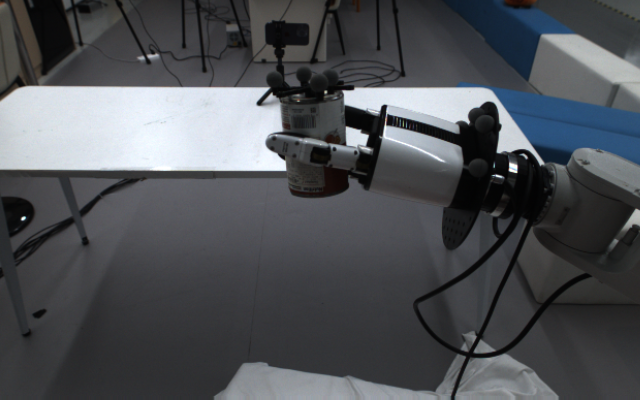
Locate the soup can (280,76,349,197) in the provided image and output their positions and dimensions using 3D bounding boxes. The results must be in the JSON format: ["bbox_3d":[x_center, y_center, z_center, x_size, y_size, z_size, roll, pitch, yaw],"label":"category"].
[{"bbox_3d":[-0.003,-0.062,0.512,0.067,0.101,0.067,-4,21,2],"label":"soup can"}]
